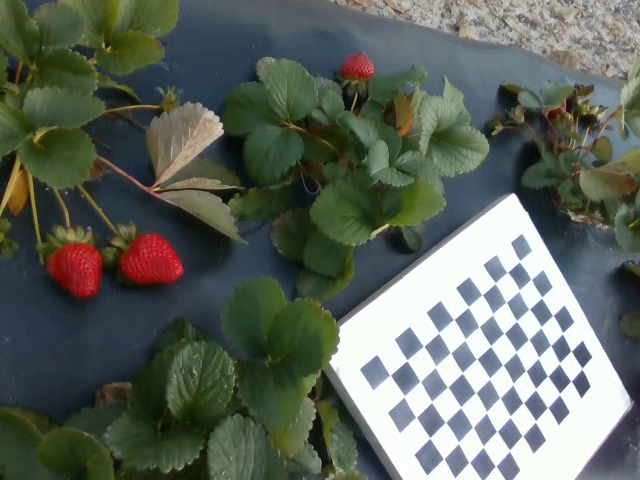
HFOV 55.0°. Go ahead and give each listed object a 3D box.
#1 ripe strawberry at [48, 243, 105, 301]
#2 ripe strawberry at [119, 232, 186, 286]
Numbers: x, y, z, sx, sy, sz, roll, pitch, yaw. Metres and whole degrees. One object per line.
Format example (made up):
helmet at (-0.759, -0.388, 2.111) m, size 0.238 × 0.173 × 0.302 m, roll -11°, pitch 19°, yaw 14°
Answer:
ripe strawberry at (-0.208, 0.028, 0.526) m, size 0.048 × 0.056 × 0.041 m, roll -17°, pitch -28°, yaw -30°
ripe strawberry at (-0.151, 0.019, 0.551) m, size 0.064 × 0.058 × 0.051 m, roll 25°, pitch -29°, yaw 16°
